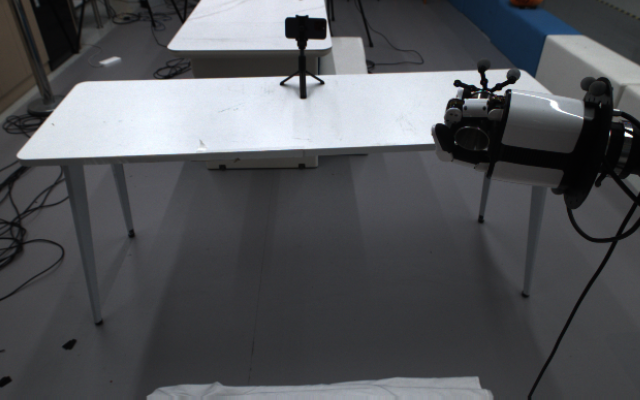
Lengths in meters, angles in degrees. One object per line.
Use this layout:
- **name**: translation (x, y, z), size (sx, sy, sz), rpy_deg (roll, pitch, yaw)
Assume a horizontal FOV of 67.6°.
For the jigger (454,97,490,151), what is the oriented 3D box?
- **jigger**: translation (0.203, -0.106, 0.620), size (0.043, 0.043, 0.071), rpy_deg (16, 58, 19)
